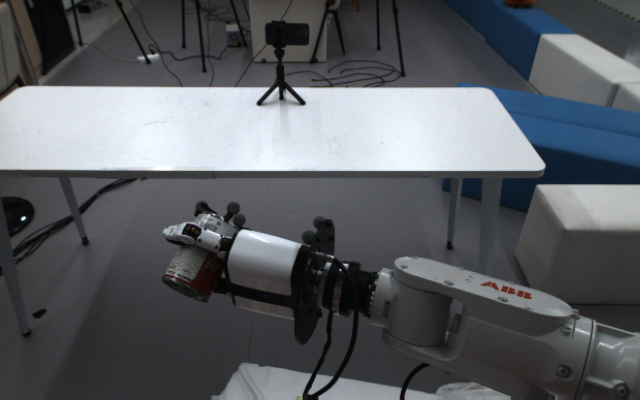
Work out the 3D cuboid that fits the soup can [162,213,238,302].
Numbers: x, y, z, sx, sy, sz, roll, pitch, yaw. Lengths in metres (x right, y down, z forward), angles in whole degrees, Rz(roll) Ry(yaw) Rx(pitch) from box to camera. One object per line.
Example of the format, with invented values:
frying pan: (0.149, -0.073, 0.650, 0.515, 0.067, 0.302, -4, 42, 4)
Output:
soup can: (-0.154, 0.076, 0.641, 0.067, 0.067, 0.101, 15, 63, 18)
